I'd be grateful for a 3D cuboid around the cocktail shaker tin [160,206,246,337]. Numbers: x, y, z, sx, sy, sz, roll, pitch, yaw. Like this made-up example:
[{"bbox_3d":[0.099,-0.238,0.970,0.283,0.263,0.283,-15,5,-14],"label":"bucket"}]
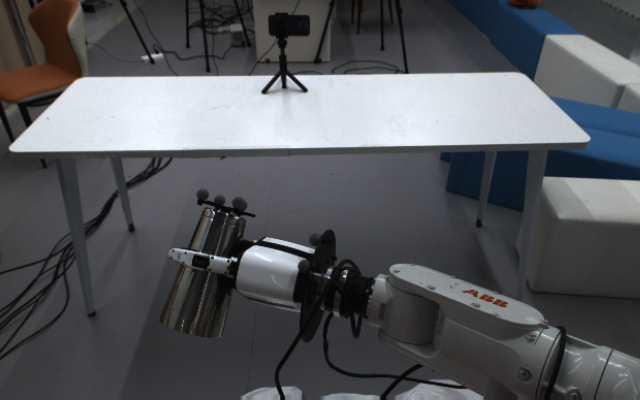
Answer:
[{"bbox_3d":[-0.163,0.102,0.702,0.093,0.170,0.093,15,-6,2],"label":"cocktail shaker tin"}]
